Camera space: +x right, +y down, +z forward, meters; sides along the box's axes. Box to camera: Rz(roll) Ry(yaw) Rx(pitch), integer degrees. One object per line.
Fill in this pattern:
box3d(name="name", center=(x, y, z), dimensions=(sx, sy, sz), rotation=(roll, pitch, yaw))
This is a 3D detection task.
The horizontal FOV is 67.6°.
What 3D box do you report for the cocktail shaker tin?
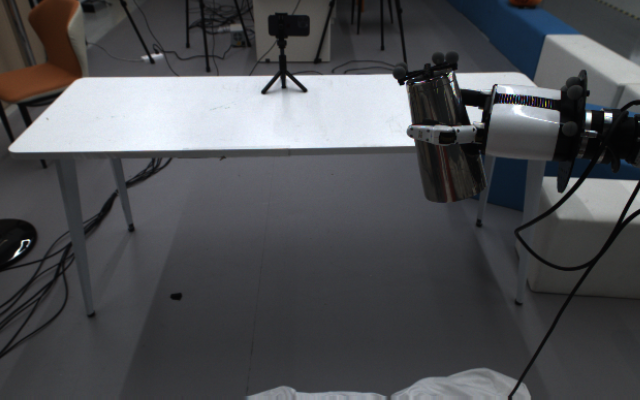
box3d(name="cocktail shaker tin", center=(0.175, -0.093, 0.684), dimensions=(0.093, 0.170, 0.093), rotation=(-17, 20, 7))
